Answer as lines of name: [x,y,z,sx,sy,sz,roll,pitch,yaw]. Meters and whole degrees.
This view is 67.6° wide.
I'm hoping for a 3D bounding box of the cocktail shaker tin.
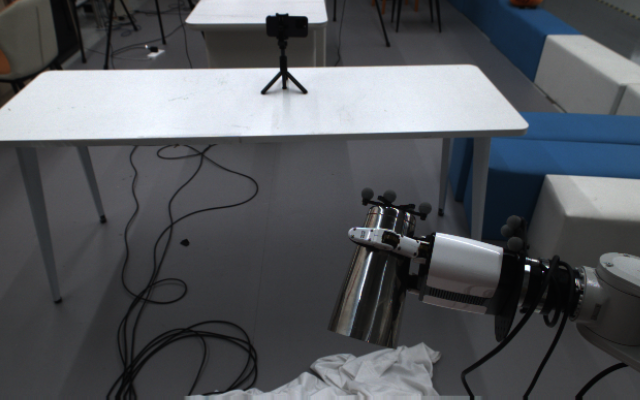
cocktail shaker tin: [0.079,0.096,0.637,0.093,0.093,0.170,13,77,15]
